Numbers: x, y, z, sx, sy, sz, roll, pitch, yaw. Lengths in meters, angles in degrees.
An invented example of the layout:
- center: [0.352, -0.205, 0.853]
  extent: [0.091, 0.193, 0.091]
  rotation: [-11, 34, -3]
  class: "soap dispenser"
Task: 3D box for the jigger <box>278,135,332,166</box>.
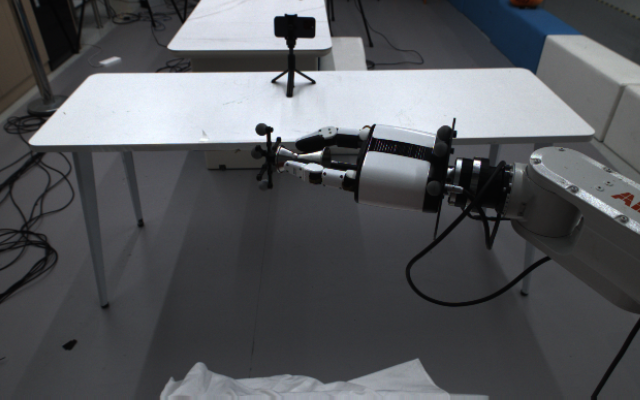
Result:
- center: [-0.017, -0.057, 0.671]
  extent: [0.071, 0.043, 0.043]
  rotation: [5, 34, 17]
  class: "jigger"
